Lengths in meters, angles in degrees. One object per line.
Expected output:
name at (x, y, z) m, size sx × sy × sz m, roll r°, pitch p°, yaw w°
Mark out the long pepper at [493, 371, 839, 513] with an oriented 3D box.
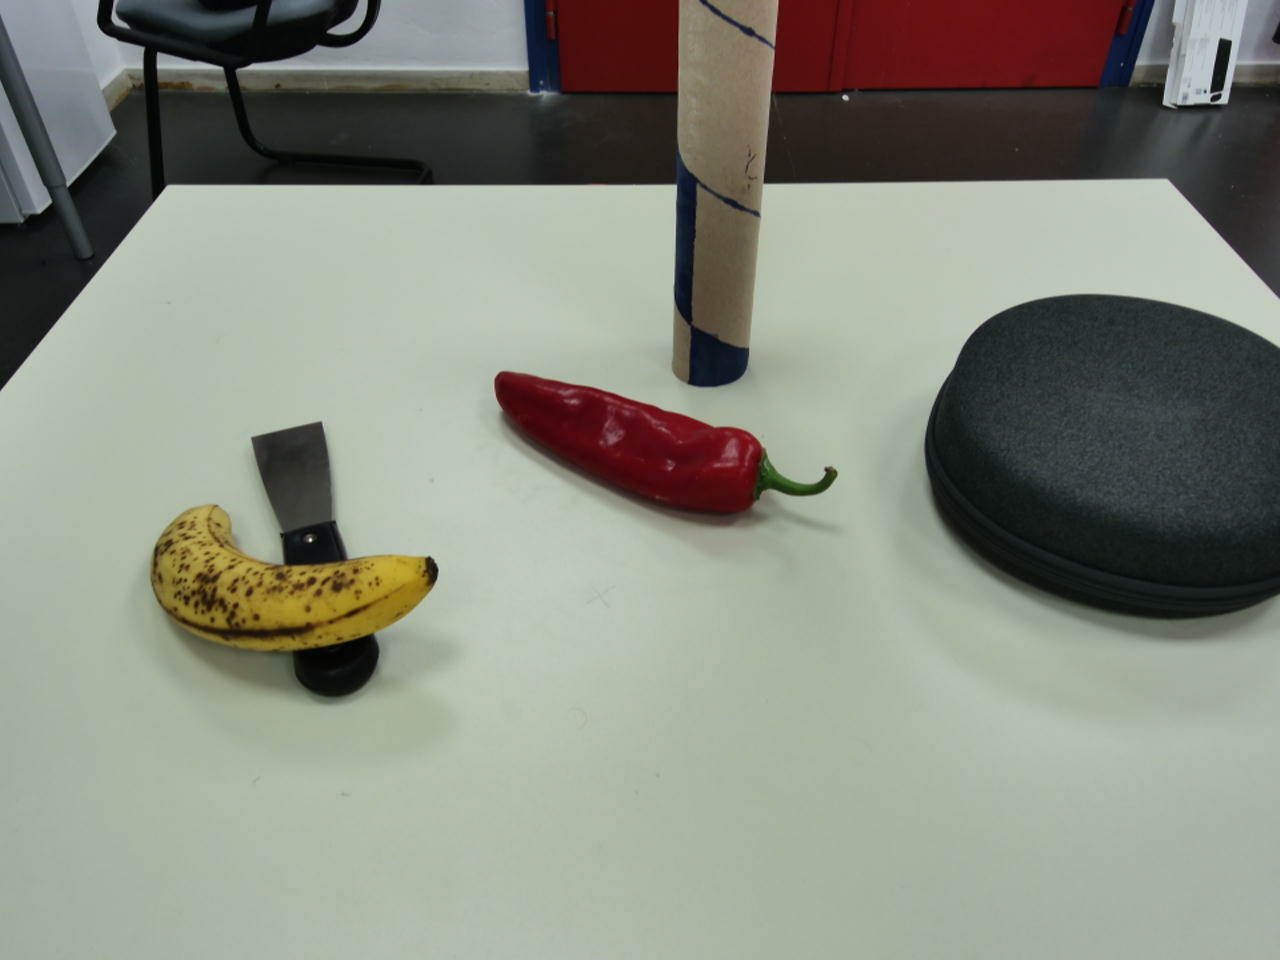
long pepper at (0.001, -0.021, 0.535) m, size 0.211 × 0.043 × 0.050 m, roll 21°, pitch 44°, yaw 25°
